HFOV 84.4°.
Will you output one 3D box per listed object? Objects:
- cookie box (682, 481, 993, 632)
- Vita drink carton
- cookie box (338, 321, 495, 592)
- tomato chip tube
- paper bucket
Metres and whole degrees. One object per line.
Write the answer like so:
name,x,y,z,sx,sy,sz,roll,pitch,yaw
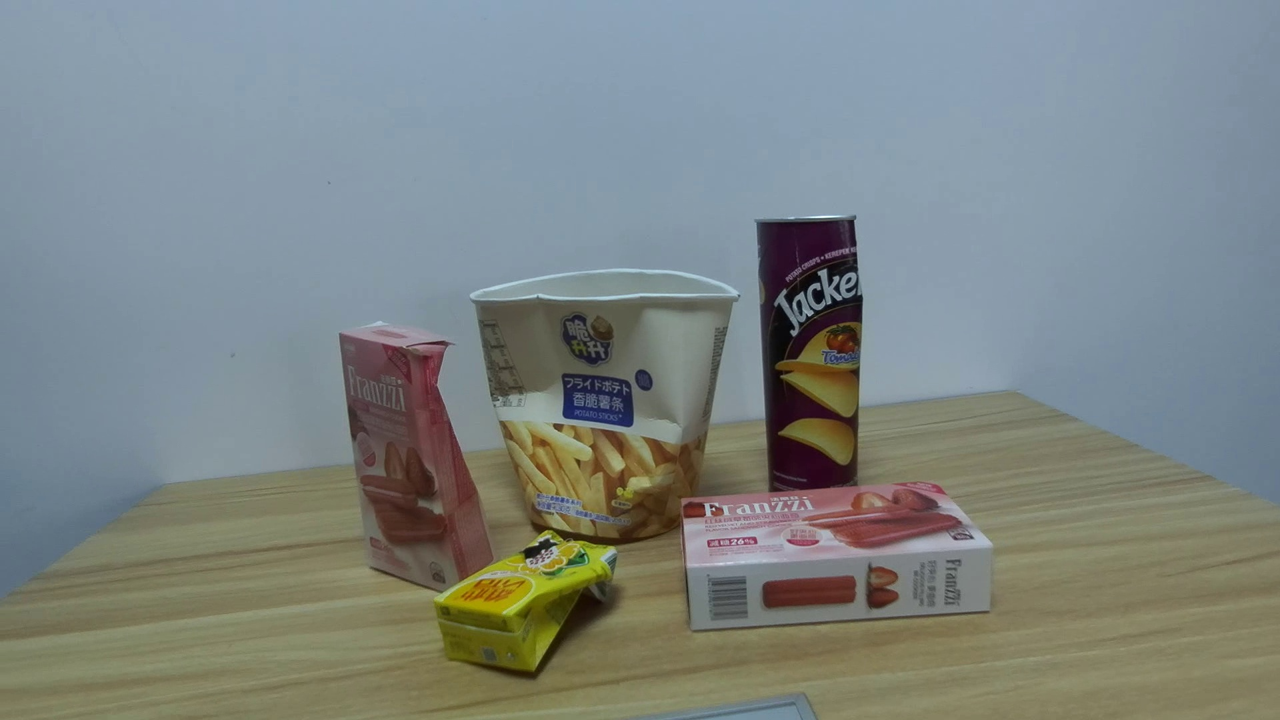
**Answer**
cookie box,0.120,0.126,0.467,0.184,0.048,0.096,-4,14,2
Vita drink carton,-0.067,0.149,0.446,0.086,0.042,0.108,-5,8,32
cookie box,-0.162,0.070,0.514,0.118,0.184,0.056,6,17,38
tomato chip tube,0.140,0.000,0.585,0.076,0.235,0.077,-3,12,6
paper bucket,-0.028,0.031,0.586,0.218,0.199,0.147,-5,14,2
